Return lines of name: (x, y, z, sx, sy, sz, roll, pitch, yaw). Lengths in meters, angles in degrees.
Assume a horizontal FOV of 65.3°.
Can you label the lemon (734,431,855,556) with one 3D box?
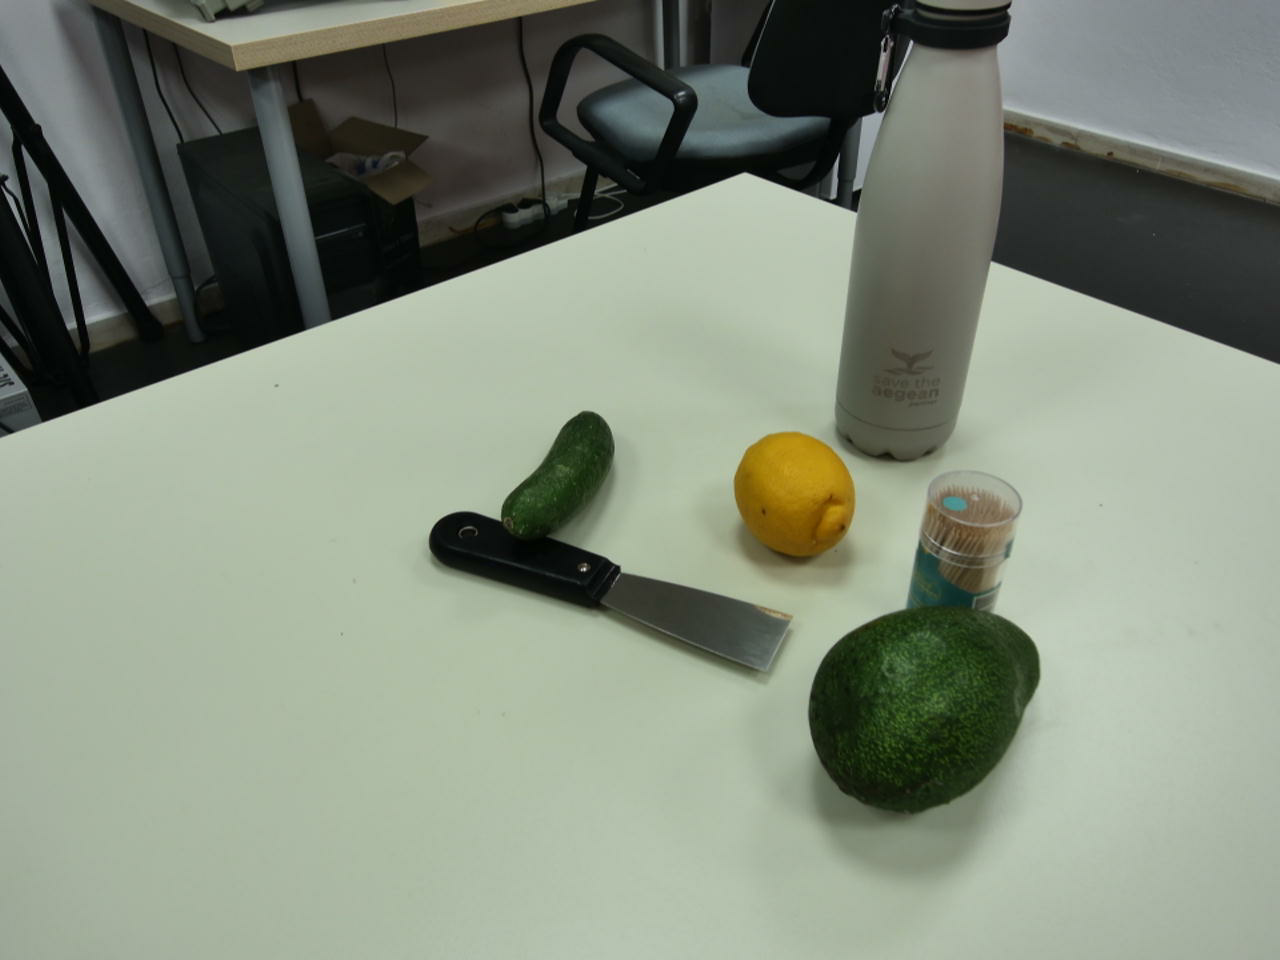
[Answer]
lemon: (0.079, 0.008, 0.515, 0.061, 0.059, 0.066, 1, 36, 2)
